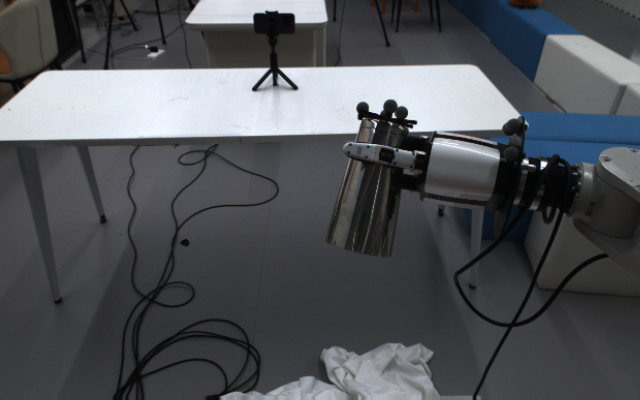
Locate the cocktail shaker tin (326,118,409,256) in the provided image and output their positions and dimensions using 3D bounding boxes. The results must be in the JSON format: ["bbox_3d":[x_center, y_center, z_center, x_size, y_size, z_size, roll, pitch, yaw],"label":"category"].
[{"bbox_3d":[0.071,-0.020,0.656,0.093,0.170,0.093,12,3,-1],"label":"cocktail shaker tin"}]
